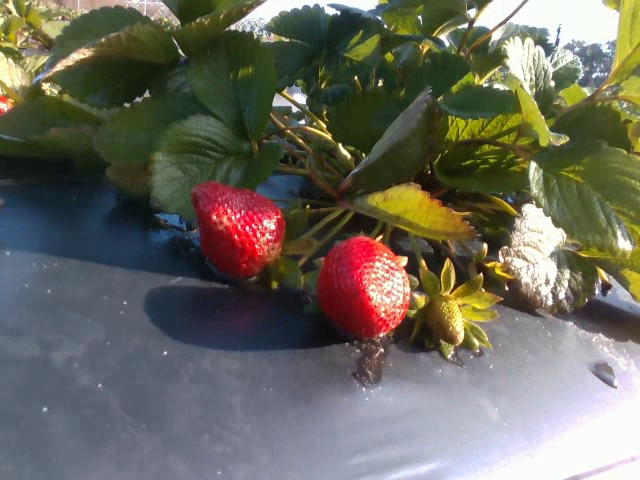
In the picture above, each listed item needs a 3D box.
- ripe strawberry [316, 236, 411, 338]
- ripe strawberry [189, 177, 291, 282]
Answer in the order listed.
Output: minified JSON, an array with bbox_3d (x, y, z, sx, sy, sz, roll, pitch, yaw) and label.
[{"bbox_3d":[0.018,0.016,0.229,0.043,0.039,0.053,33,3,0],"label":"ripe strawberry"},{"bbox_3d":[-0.036,-0.006,0.267,0.039,0.048,0.054,-33,-48,29],"label":"ripe strawberry"}]
